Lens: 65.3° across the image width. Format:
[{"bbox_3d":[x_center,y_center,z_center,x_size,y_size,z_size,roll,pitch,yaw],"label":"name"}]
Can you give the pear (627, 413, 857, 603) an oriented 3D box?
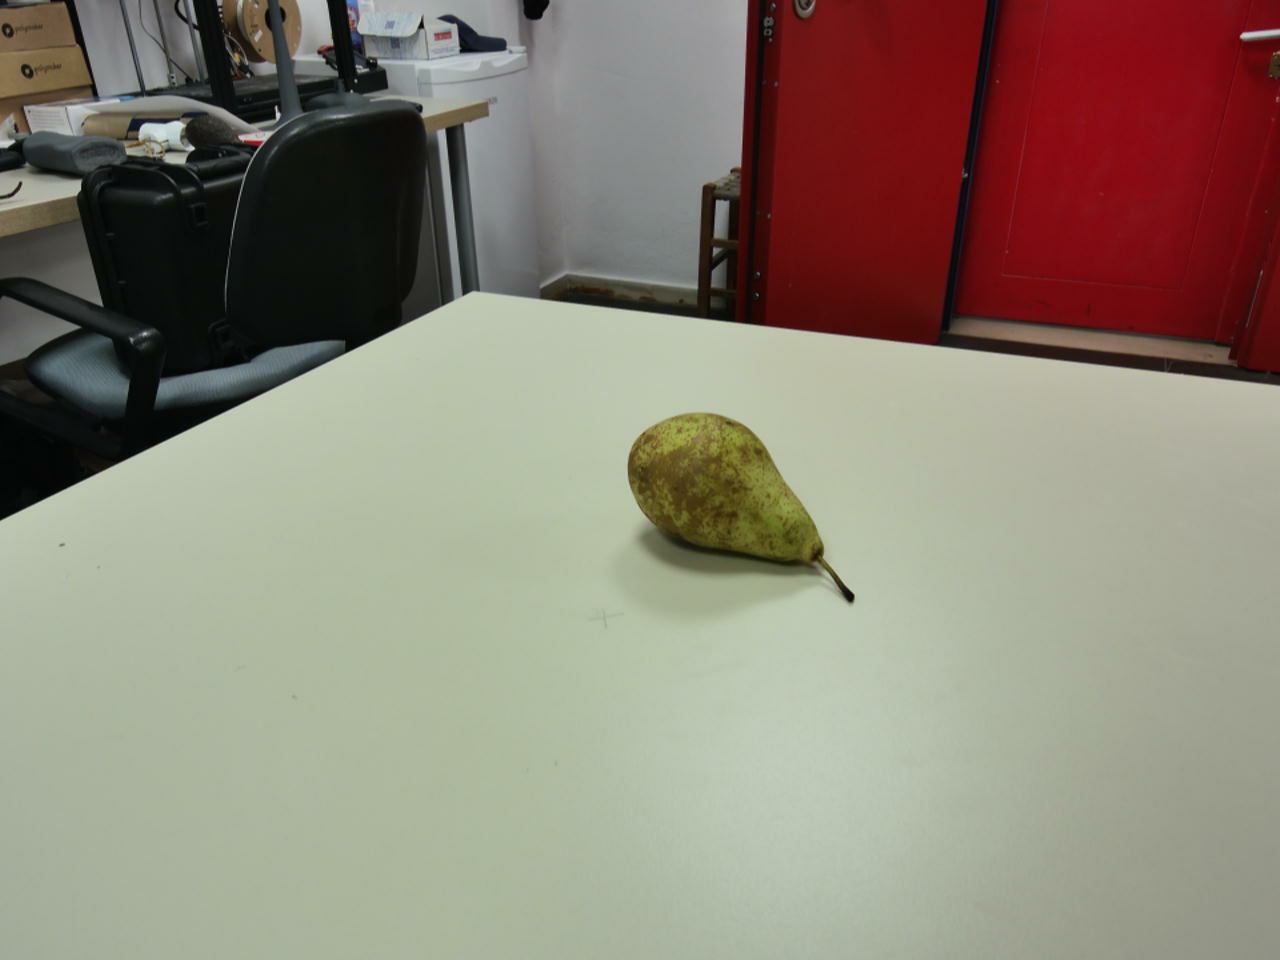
[{"bbox_3d":[0.056,0.005,0.529,0.128,0.075,0.071,8,26,15],"label":"pear"}]
